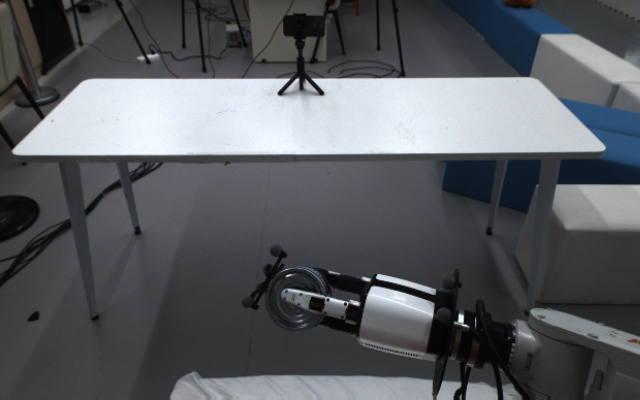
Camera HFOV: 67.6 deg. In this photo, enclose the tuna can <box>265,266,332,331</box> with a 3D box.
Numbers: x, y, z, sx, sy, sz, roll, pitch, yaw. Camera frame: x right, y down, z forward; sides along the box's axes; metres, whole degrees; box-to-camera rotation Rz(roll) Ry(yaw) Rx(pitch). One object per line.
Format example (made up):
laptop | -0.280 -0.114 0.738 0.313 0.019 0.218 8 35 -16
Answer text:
tuna can | -0.025 0.134 0.642 0.085 0.085 0.034 9 -4 10
